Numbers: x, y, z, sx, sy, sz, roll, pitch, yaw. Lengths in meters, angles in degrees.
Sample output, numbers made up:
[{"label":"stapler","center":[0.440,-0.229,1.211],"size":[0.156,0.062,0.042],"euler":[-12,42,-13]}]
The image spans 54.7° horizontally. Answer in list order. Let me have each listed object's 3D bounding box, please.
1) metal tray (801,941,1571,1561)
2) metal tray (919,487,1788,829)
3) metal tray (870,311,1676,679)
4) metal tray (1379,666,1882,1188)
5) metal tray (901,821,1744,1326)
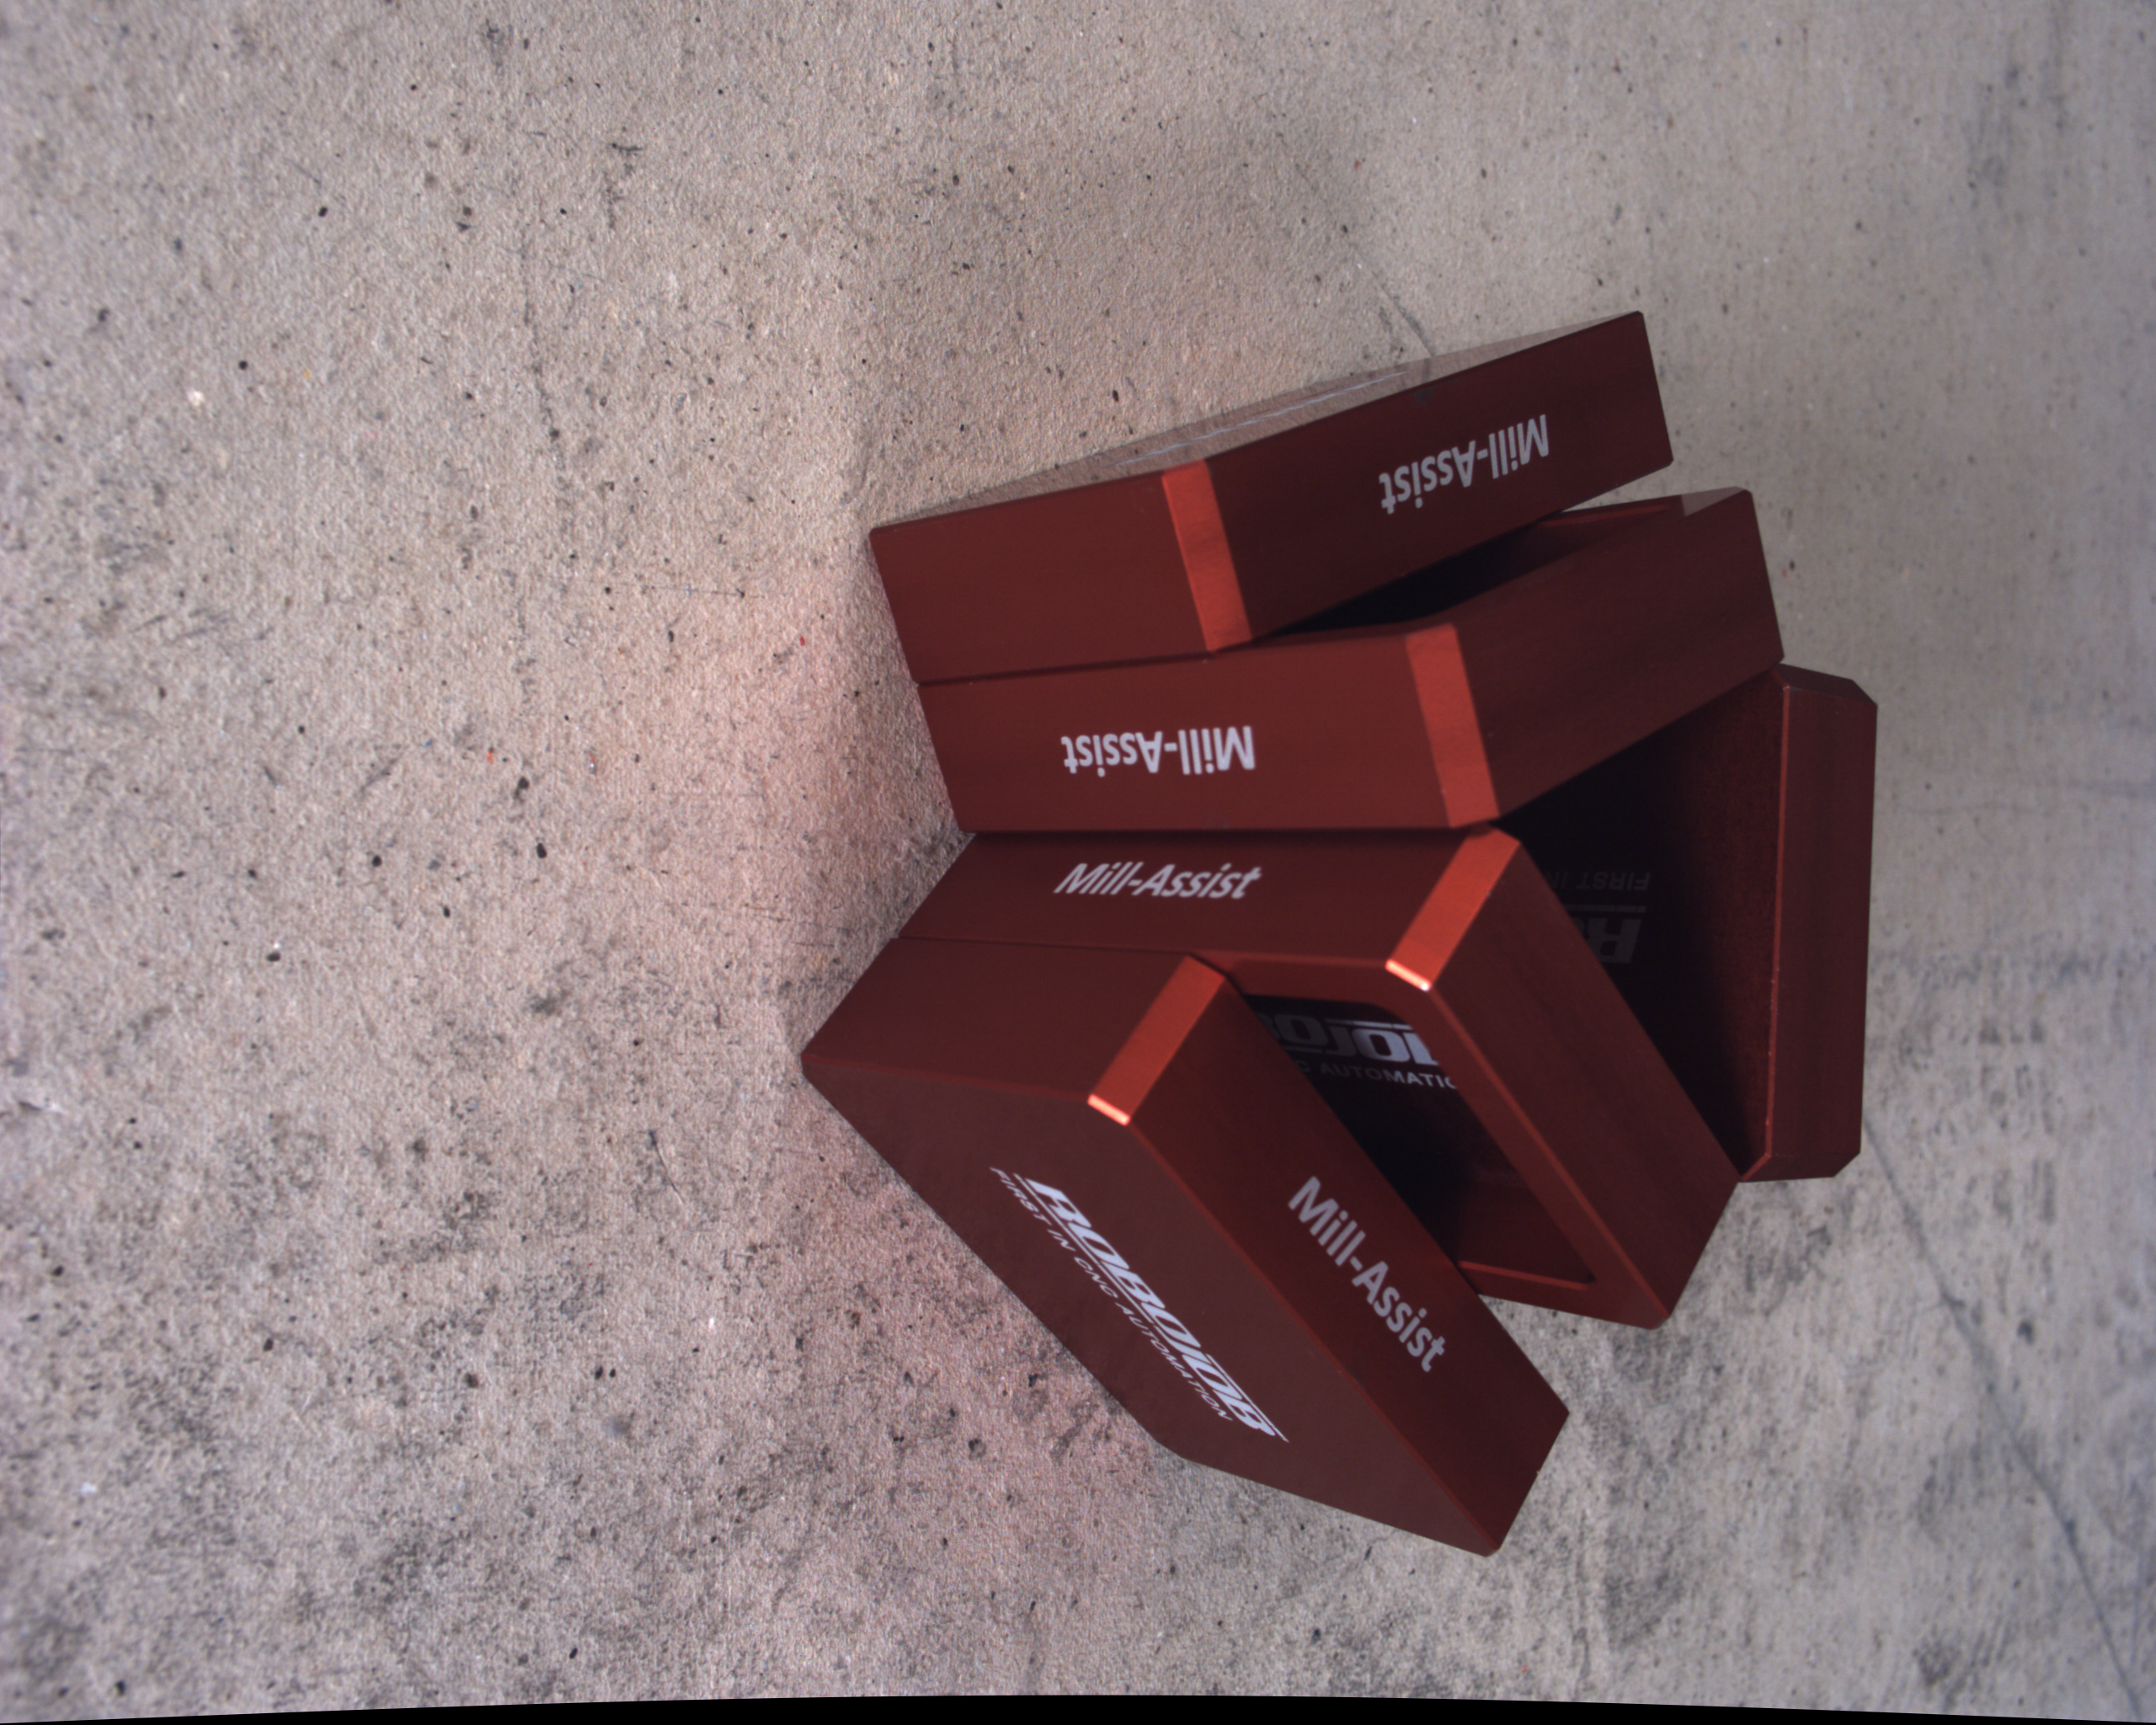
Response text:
[{"label":"metal tray","center":[0.020,0.070,0.379],"size":[0.130,0.090,0.030],"euler":[51,60,-28]},{"label":"metal tray","center":[0.045,-0.035,0.375],"size":[0.091,0.130,0.030],"euler":[-26,107,-37]},{"label":"metal tray","center":[0.038,-0.070,0.395],"size":[0.131,0.090,0.030],"euler":[-25,106,-37]},{"label":"metal tray","center":[0.088,0.011,0.410],"size":[0.030,0.130,0.089],"euler":[6,87,-40]},{"label":"metal tray","center":[0.038,0.034,0.369],"size":[0.090,0.130,0.030],"euler":[51,60,-28]}]
